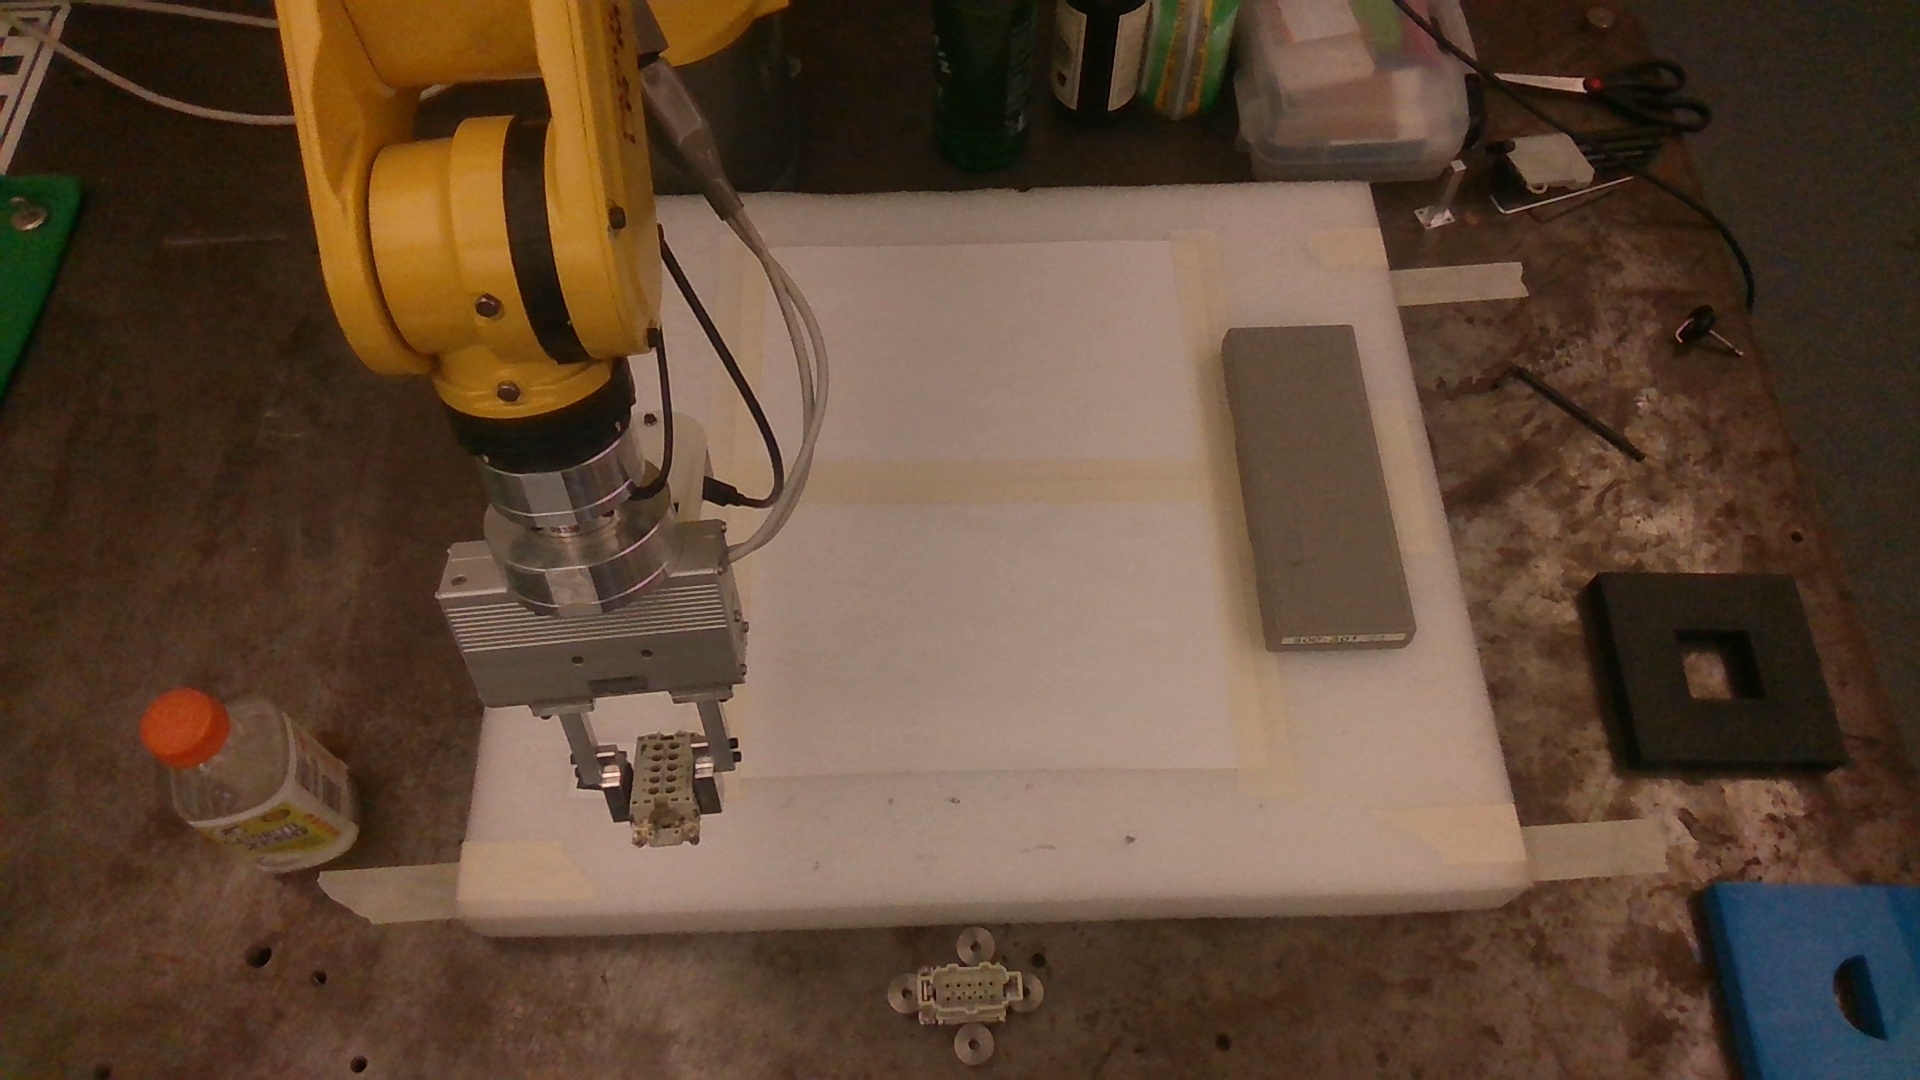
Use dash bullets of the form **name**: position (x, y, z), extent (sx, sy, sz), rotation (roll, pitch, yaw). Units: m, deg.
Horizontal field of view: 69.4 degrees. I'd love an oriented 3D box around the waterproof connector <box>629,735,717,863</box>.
- **waterproof connector**: position (-0.146, 0.132, 0.712), extent (0.037, 0.038, 0.069), rotation (-3, 45, 2)
